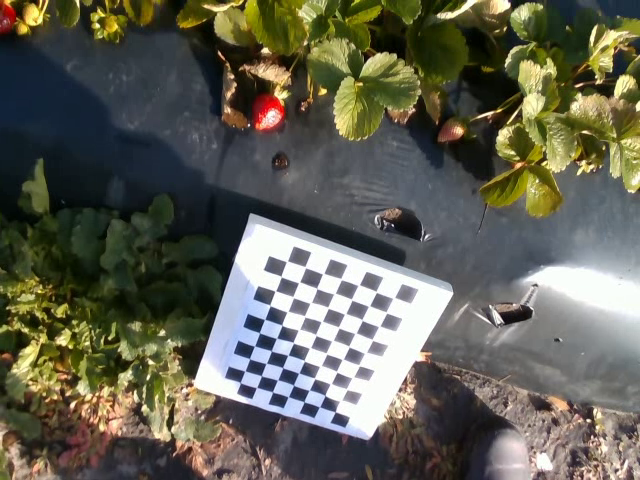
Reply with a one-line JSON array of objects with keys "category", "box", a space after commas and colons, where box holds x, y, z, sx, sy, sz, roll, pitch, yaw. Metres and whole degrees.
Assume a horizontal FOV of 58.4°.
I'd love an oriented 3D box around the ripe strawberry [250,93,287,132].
[{"category": "ripe strawberry", "box": [-0.059, -0.124, 0.585, 0.046, 0.054, 0.037, 38, -23, -16]}]
